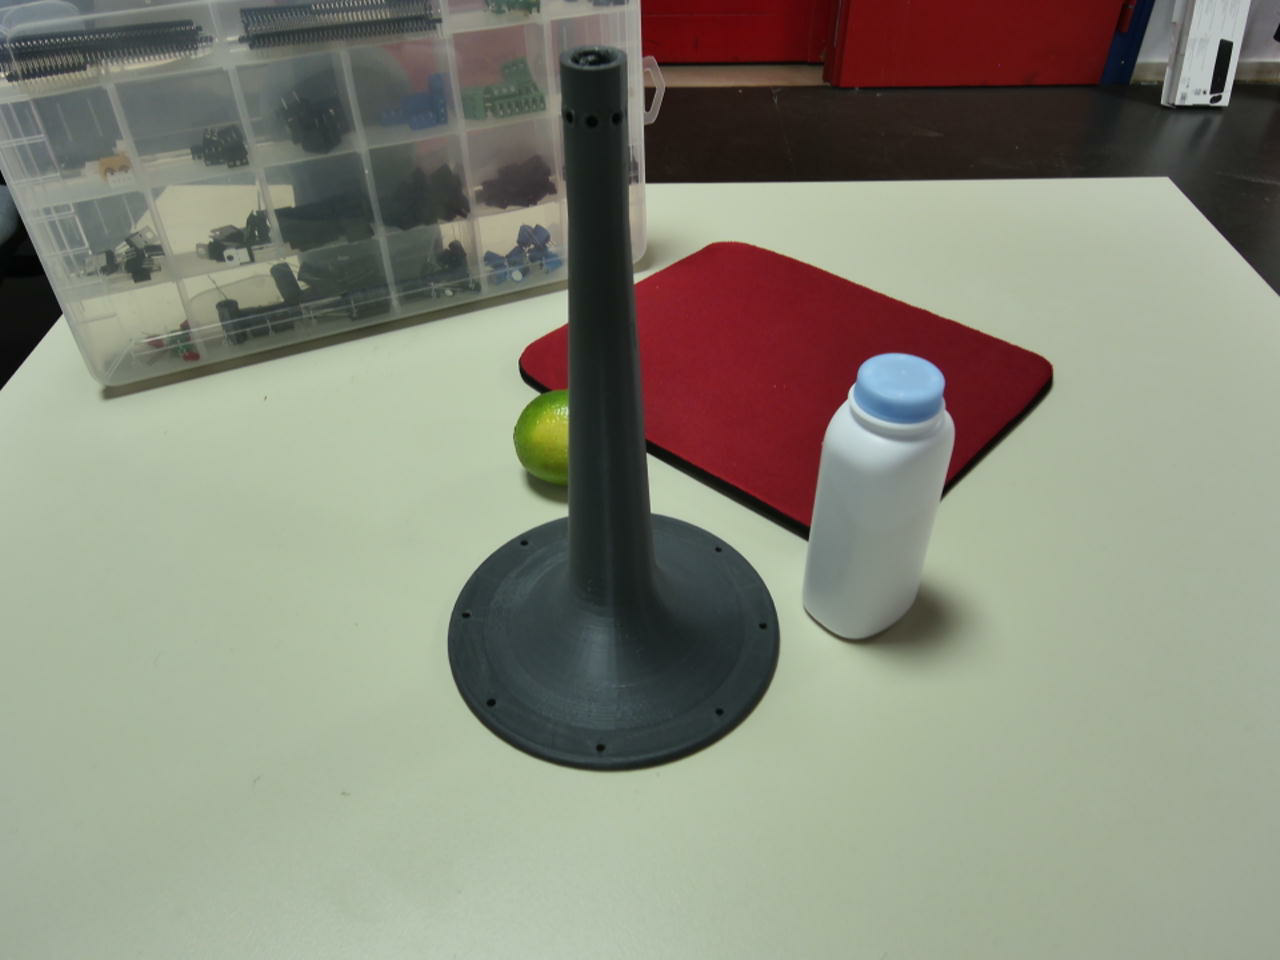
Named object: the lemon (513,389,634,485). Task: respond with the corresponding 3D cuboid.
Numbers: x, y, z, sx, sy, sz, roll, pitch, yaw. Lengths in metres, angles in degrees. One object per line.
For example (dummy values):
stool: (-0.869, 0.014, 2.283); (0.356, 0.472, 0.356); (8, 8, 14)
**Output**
lemon: (-0.038, -0.023, 0.530); (0.054, 0.050, 0.055); (-28, 47, -30)
